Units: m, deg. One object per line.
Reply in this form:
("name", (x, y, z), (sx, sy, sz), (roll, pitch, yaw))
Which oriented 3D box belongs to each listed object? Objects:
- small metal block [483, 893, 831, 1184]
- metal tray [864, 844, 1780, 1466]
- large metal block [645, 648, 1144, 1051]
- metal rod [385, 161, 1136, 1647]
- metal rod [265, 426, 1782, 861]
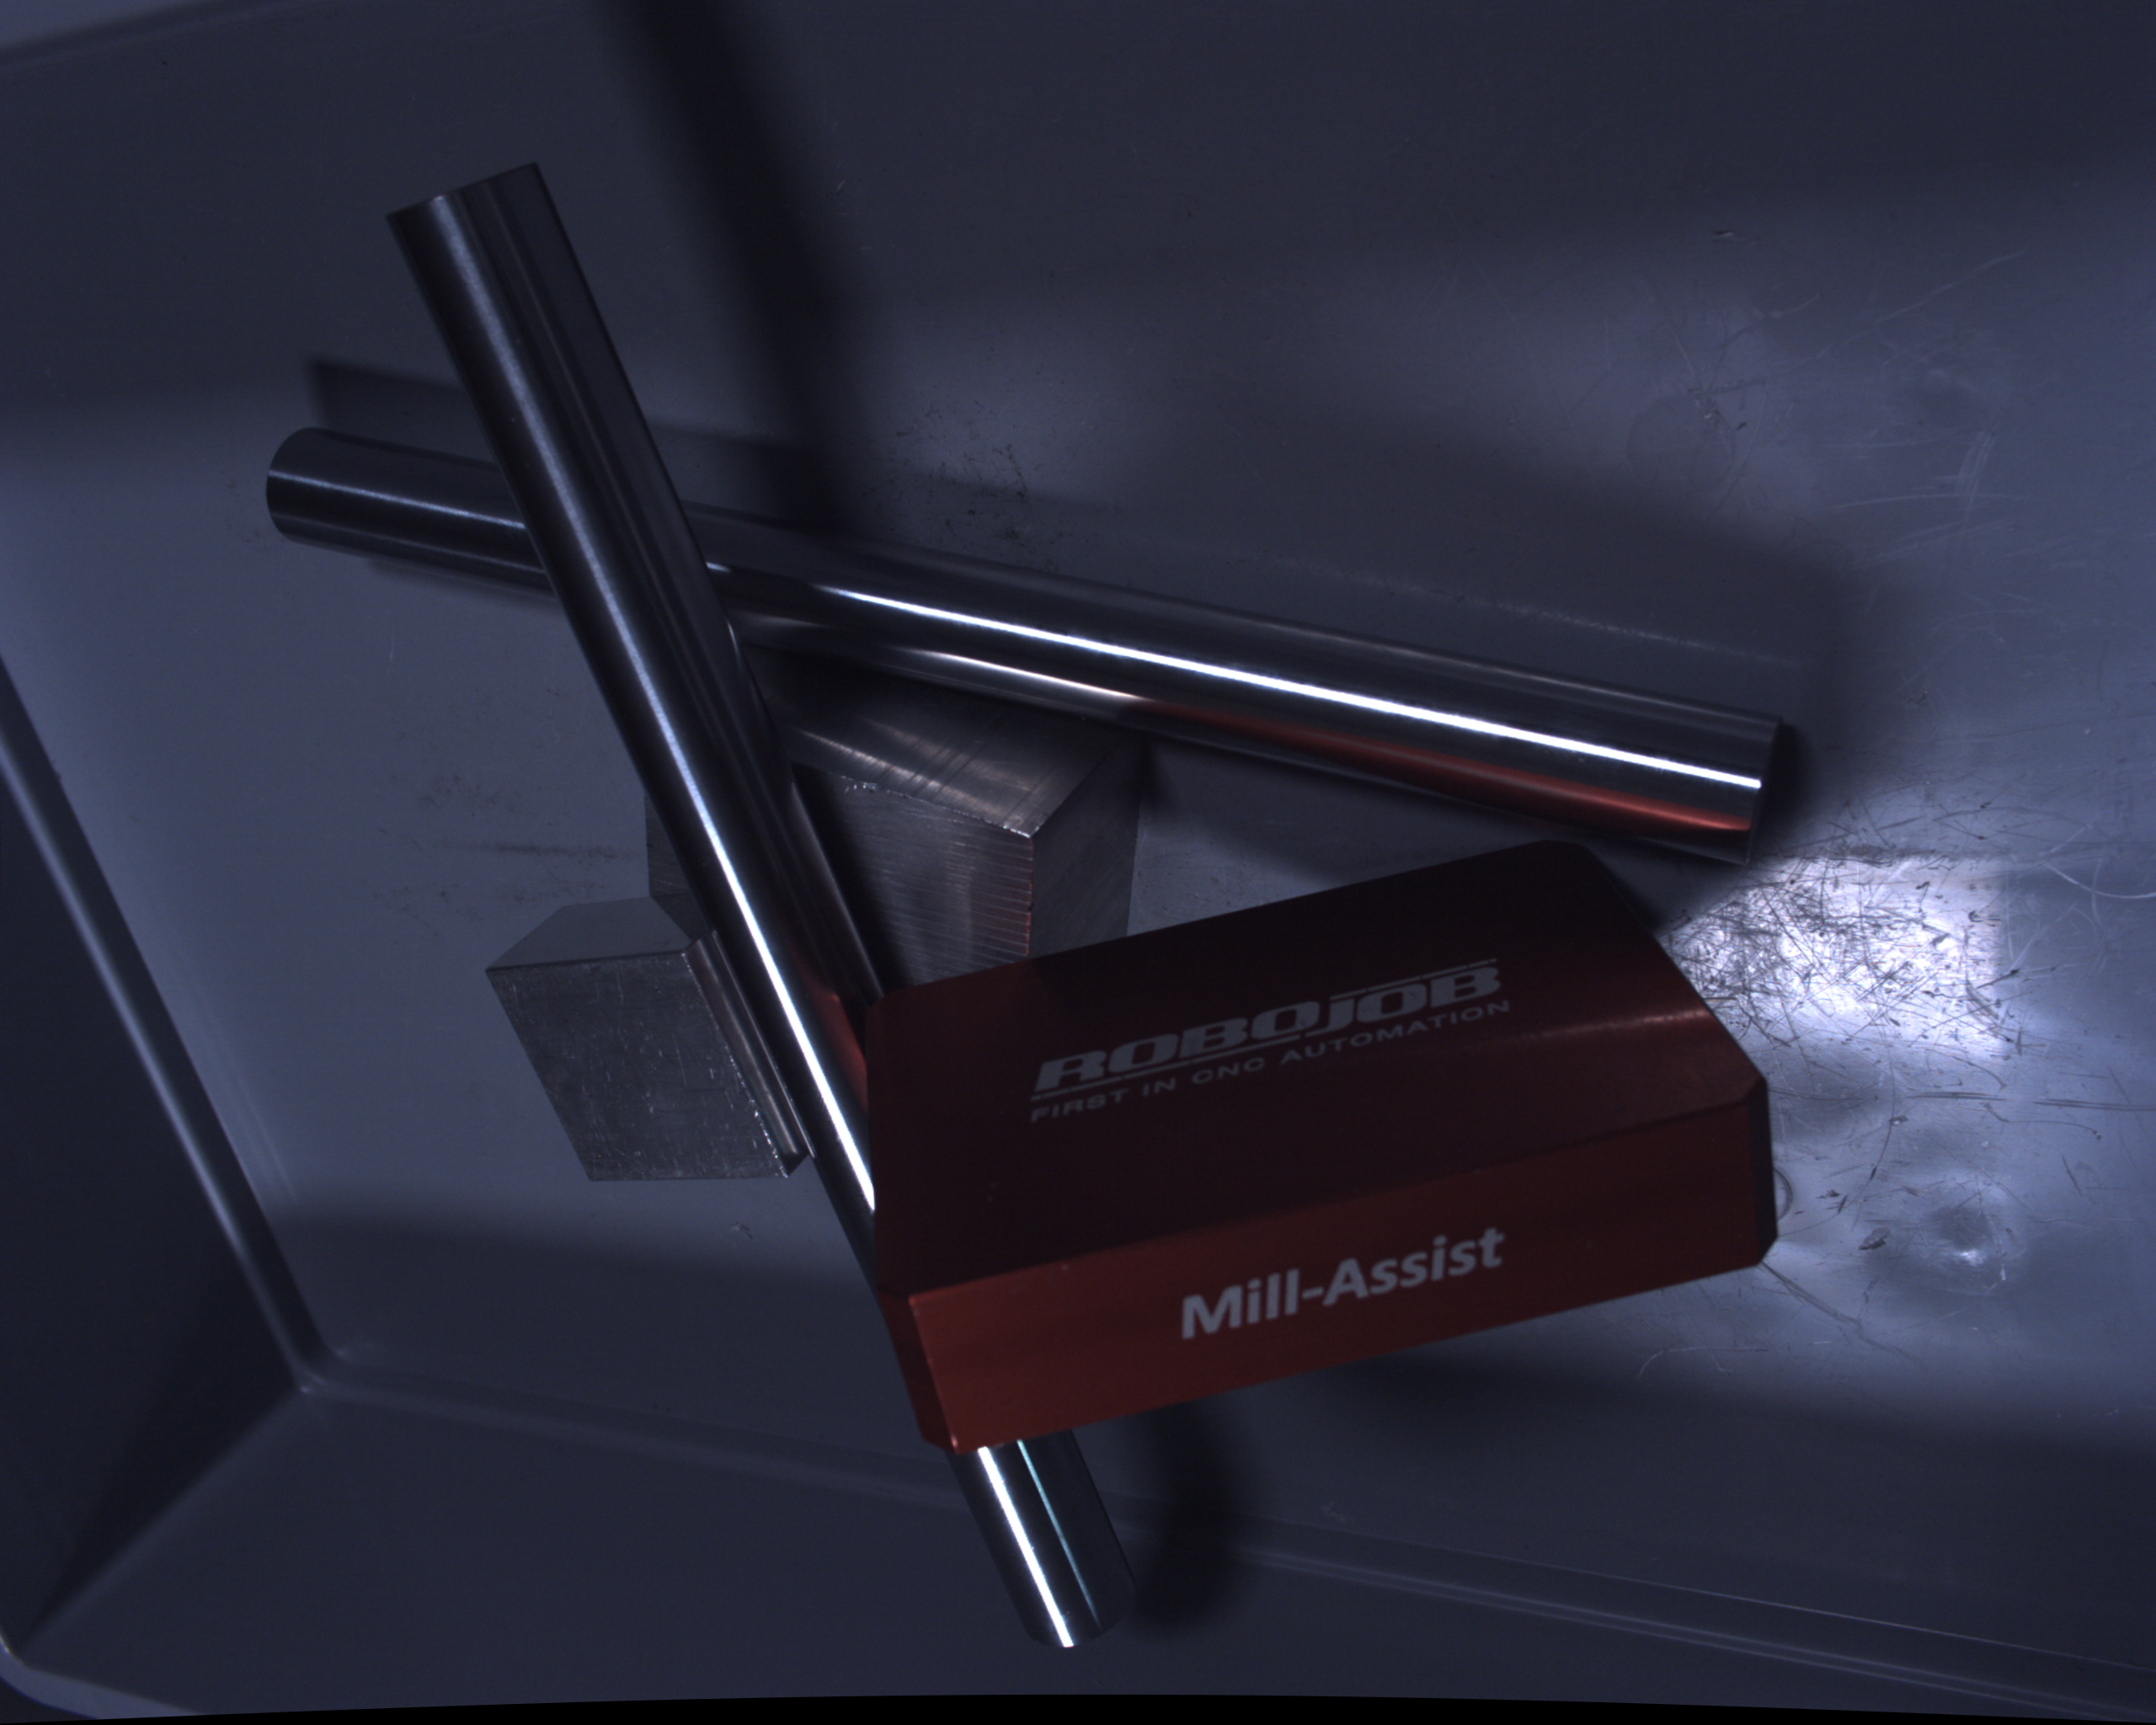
("small metal block", (-0.078, 0.034, 0.403), (0.050, 0.025, 0.050), (-7, 115, 30))
("metal tray", (0.033, 0.042, 0.338), (0.131, 0.090, 0.030), (-13, 116, -1))
("large metal block", (-0.036, 0.005, 0.412), (0.080, 0.050, 0.079), (17, 125, 18))
("metal rod", (-0.048, 0.024, 0.381), (0.025, 0.025, 0.298), (-7, 115, 31))
("metal rod", (-0.025, -0.046, 0.391), (0.301, 0.025, 0.025), (14, 124, 20))
